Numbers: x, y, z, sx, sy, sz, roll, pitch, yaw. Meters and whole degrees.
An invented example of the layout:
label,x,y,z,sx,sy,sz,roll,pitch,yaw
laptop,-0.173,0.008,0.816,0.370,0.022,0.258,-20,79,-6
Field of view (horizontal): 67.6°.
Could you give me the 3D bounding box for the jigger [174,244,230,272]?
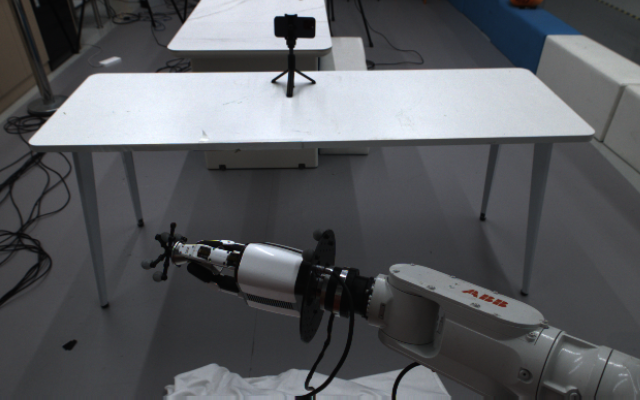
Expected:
label,x,y,z,sx,sy,sz,roll,pitch,yaw
jigger,-0.174,0.080,0.719,0.071,0.043,0.043,8,35,15
